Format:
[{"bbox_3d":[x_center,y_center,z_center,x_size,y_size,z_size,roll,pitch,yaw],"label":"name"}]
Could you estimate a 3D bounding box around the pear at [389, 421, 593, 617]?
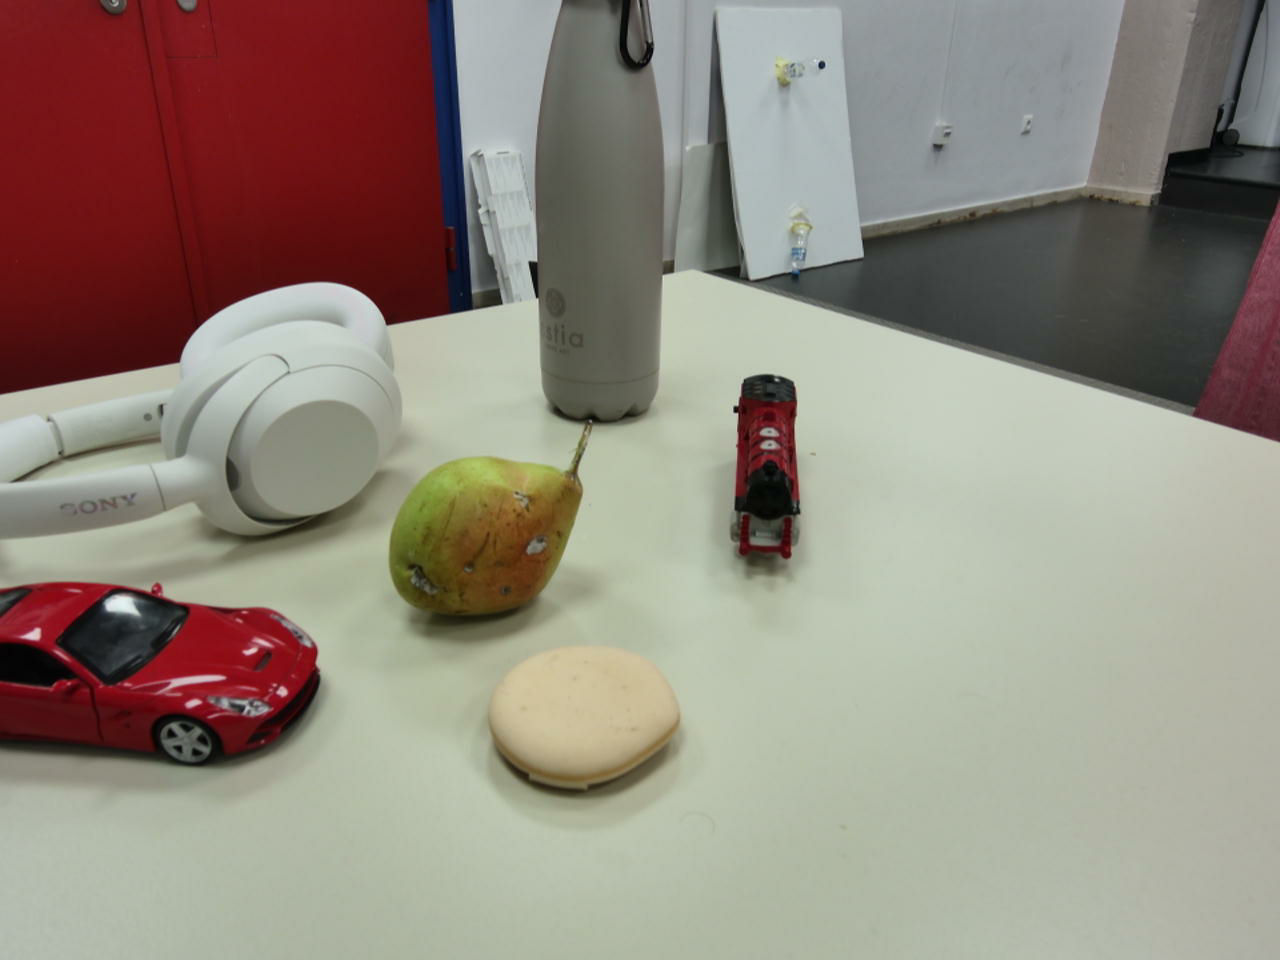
[{"bbox_3d":[-0.060,0.018,0.391,0.070,0.069,0.068,5,24,11],"label":"pear"}]
